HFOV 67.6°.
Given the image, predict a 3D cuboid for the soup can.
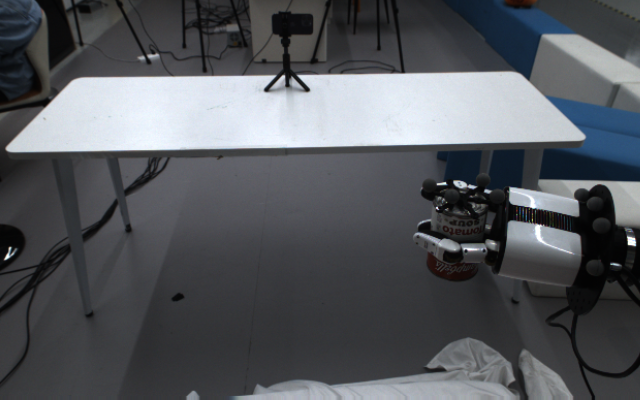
[{"bbox_3d":[0.177,0.043,0.621,0.067,0.101,0.067,-2,33,1],"label":"soup can"}]
